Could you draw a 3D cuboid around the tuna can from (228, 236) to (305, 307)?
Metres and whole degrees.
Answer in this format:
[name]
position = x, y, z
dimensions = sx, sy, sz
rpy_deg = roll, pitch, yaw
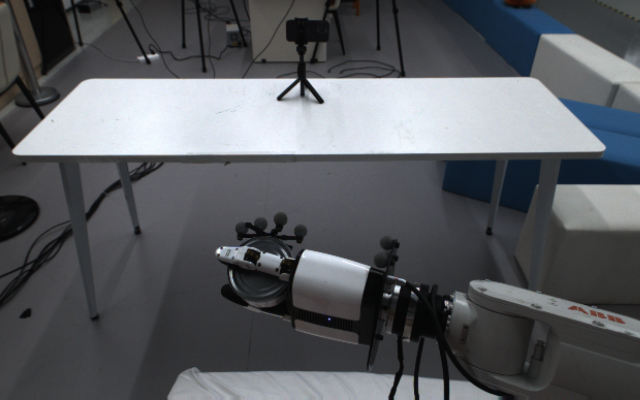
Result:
[tuna can]
position = -0.069, 0.091, 0.611
dimensions = 0.085, 0.034, 0.085
rpy_deg = -4, 61, 6
